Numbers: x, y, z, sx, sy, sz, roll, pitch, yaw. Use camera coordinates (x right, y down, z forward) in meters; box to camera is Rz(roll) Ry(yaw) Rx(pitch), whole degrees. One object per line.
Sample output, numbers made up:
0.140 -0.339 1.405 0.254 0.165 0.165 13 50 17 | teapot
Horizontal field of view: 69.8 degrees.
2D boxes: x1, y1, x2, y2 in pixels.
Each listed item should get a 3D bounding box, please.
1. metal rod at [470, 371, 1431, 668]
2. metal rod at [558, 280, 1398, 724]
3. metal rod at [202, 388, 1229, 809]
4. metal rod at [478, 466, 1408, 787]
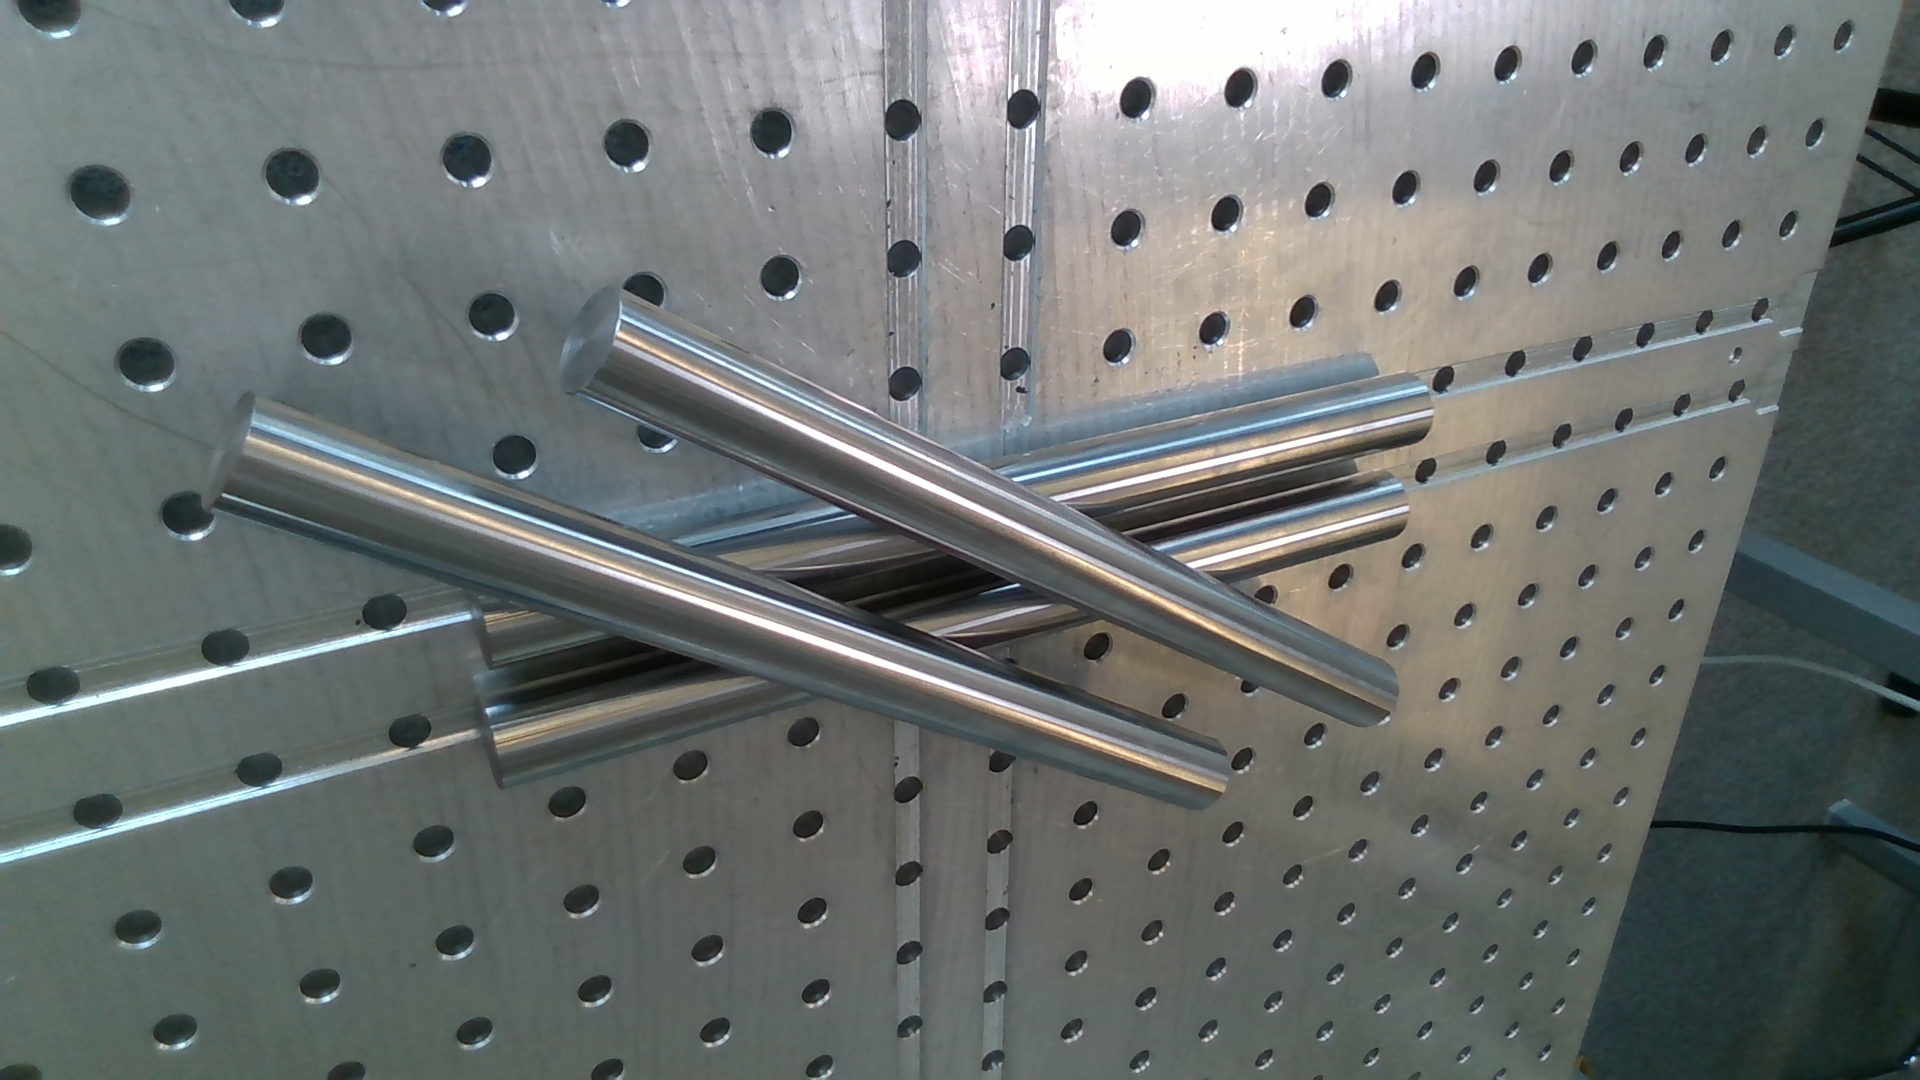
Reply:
0.016 -0.013 0.396 0.300 0.025 0.025 -14 121 -25 | metal rod
0.031 0.004 0.382 0.301 0.025 0.025 23 101 -38 | metal rod
-0.031 0.029 0.356 0.301 0.025 0.025 23 101 -38 | metal rod
0.013 0.018 0.411 0.300 0.025 0.025 -14 121 -25 | metal rod
